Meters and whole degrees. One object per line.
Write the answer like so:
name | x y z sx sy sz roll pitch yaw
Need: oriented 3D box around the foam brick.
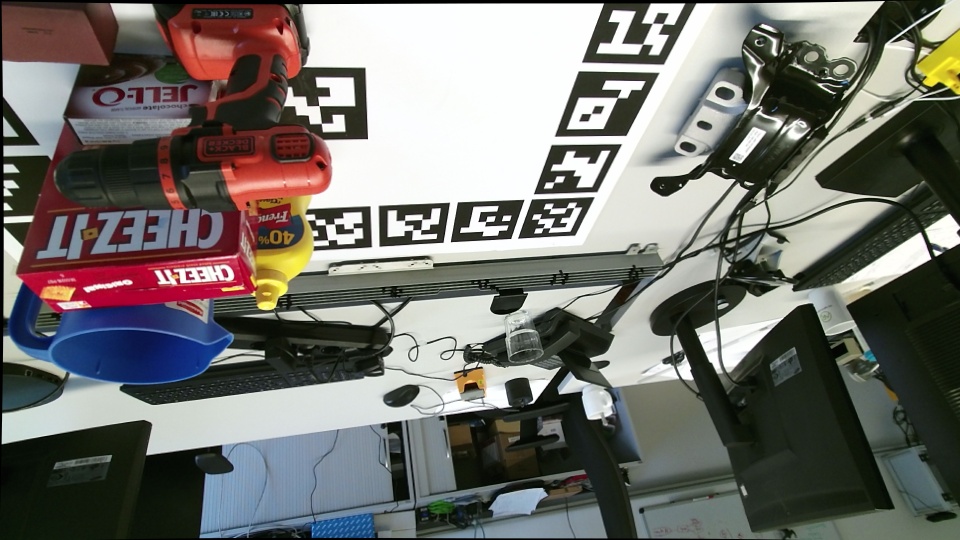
foam brick | -0.359 -0.195 0.437 0.078 0.051 0.053 -5 144 -15

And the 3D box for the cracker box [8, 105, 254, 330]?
cracker box | -0.305 -0.066 0.493 0.165 0.212 0.072 -10 148 -13

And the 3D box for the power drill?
power drill | -0.221 -0.125 0.411 0.185 0.186 0.057 -7 149 -11

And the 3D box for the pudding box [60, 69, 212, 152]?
pudding box | -0.304 -0.138 0.484 0.114 0.089 0.039 -8 148 -15

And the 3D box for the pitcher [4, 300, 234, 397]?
pitcher | -0.362 0.002 0.562 0.189 0.241 0.133 -4 145 -19

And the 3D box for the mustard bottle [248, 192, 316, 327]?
mustard bottle | -0.235 -0.021 0.598 0.096 0.190 0.058 1 142 -24
